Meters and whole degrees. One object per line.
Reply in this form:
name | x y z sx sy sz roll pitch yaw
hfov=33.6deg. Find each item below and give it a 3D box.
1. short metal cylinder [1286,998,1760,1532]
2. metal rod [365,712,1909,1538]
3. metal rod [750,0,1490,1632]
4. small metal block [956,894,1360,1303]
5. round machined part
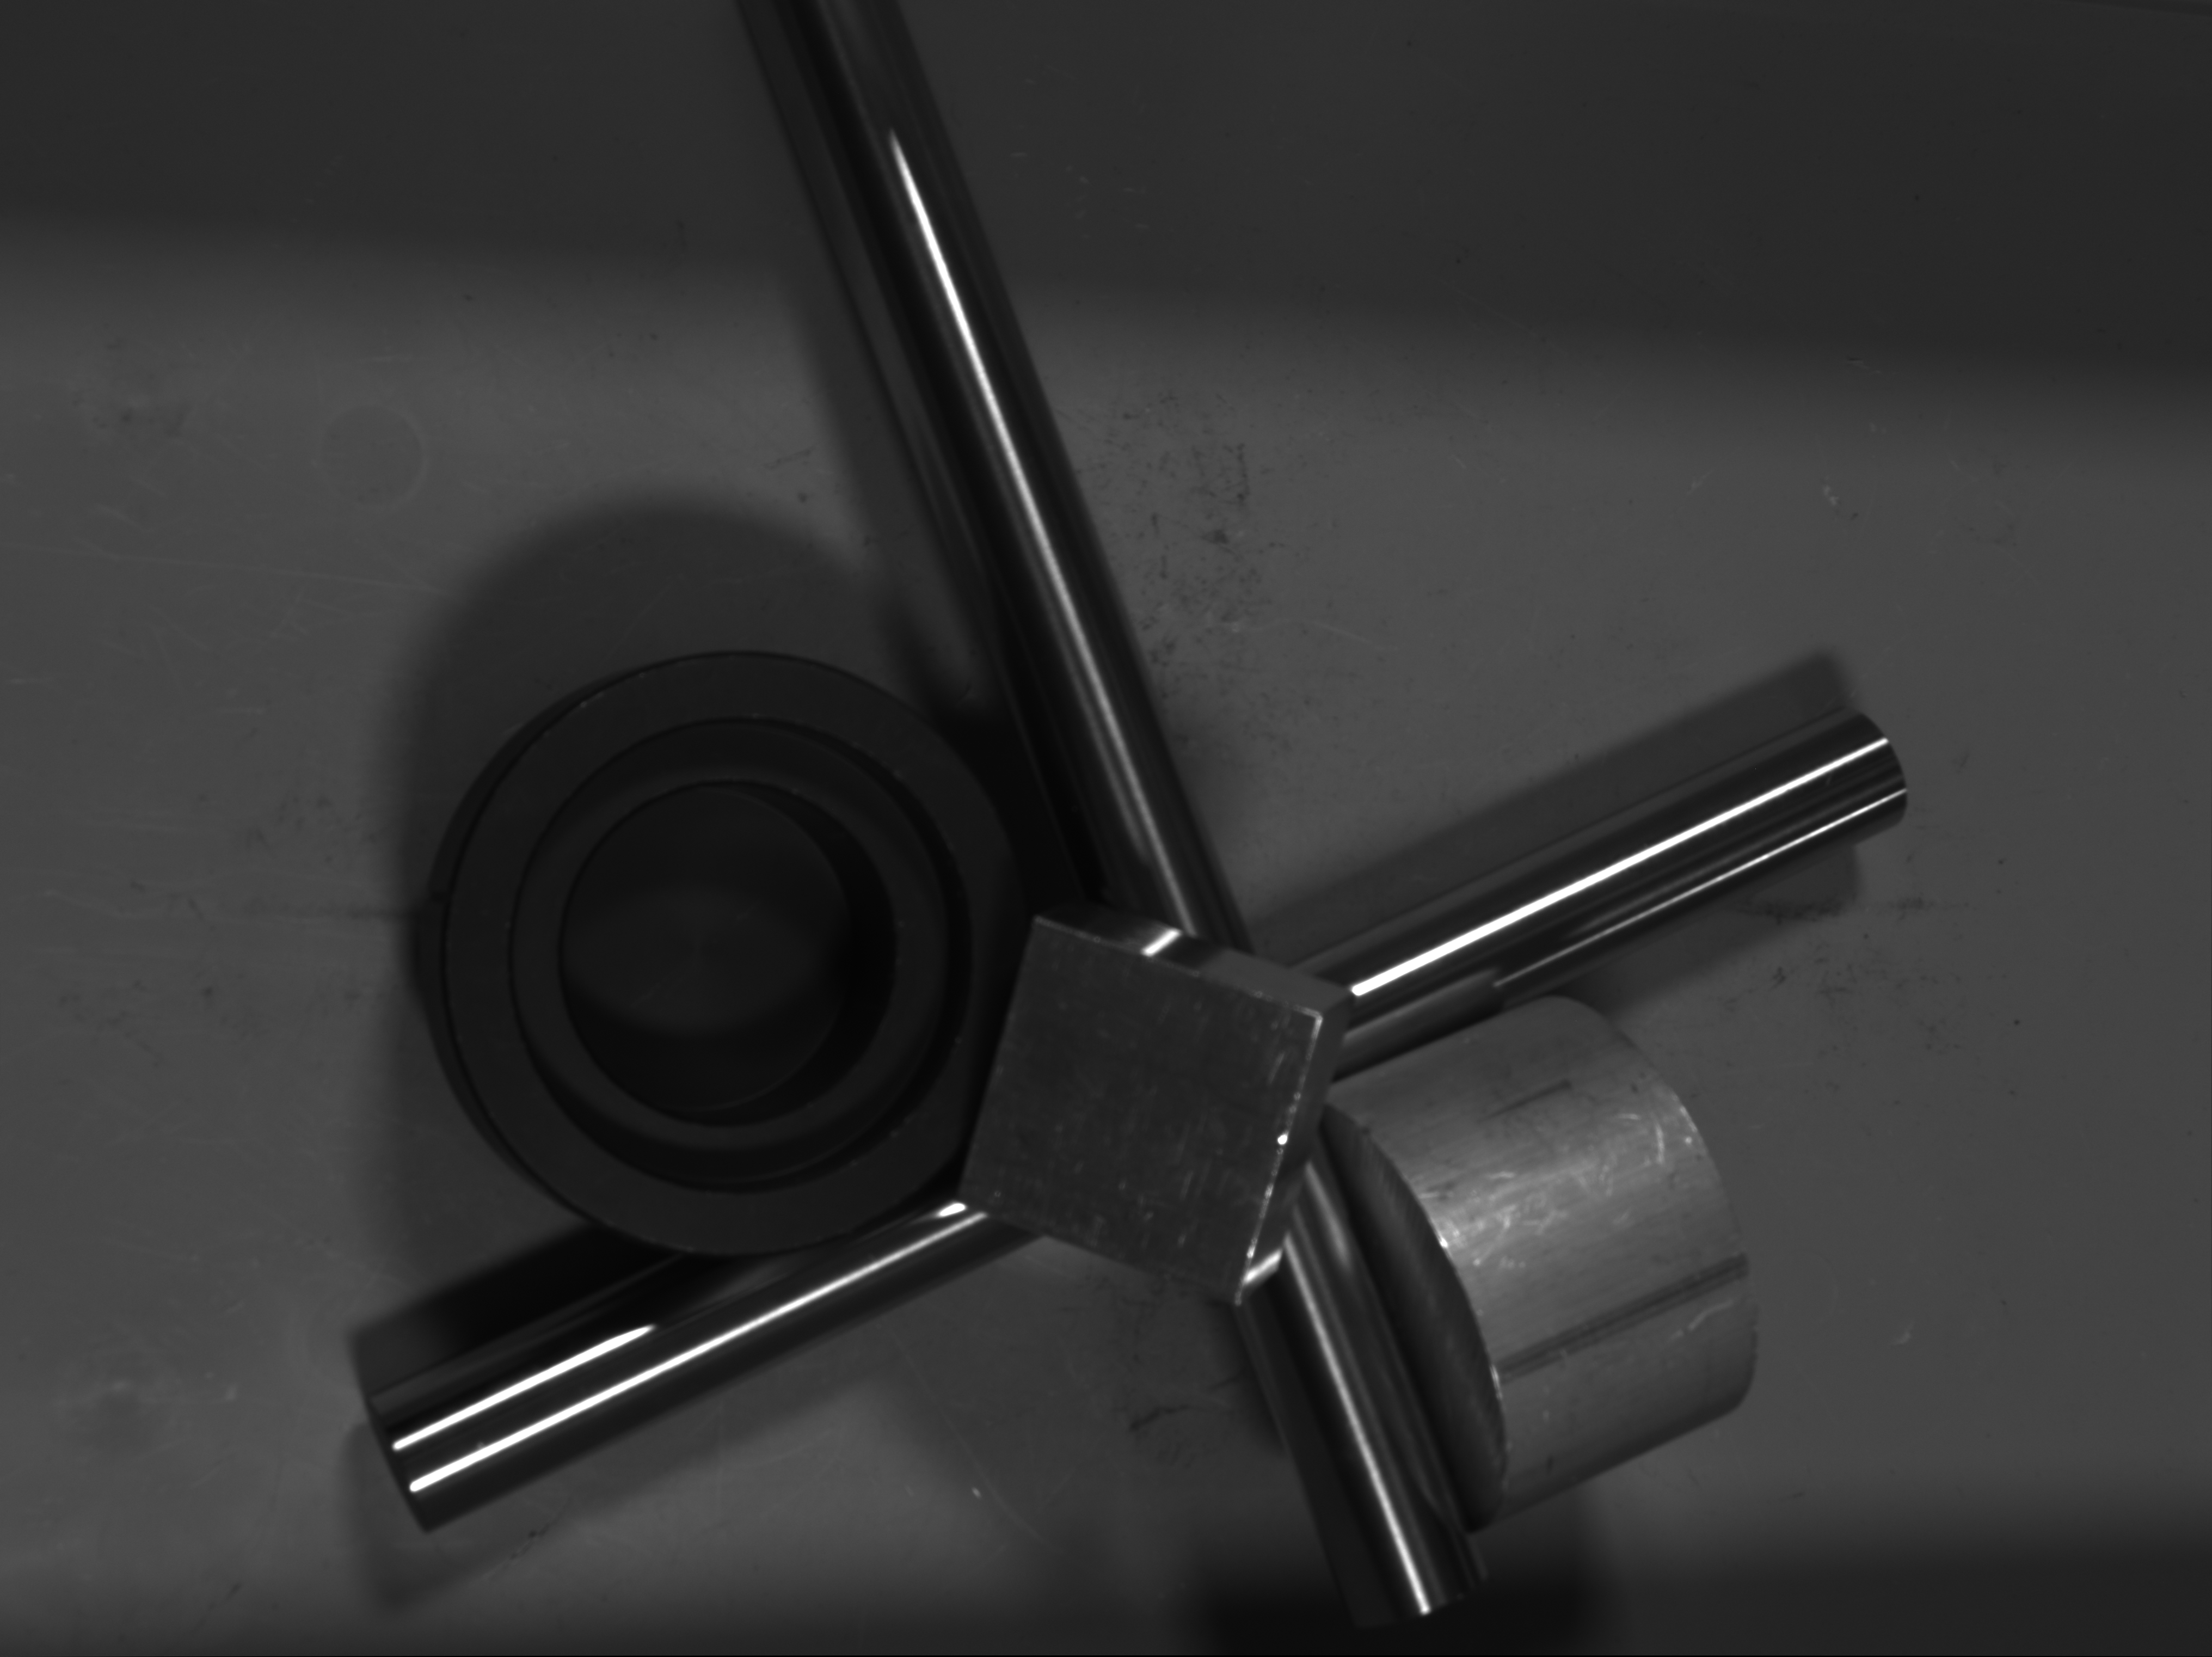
short metal cylinder | 0.070 0.075 0.638 0.050 0.080 0.080 -21 97 -19
metal rod | 0.014 0.047 0.647 0.300 0.025 0.025 -24 98 -18
metal rod | 0.001 -0.009 0.624 0.025 0.025 0.300 -20 90 -19
small metal block | 0.009 0.044 0.602 0.050 0.025 0.050 18 101 14
round machined part | -0.066 0.020 0.610 0.098 0.042 0.098 0 90 -20
